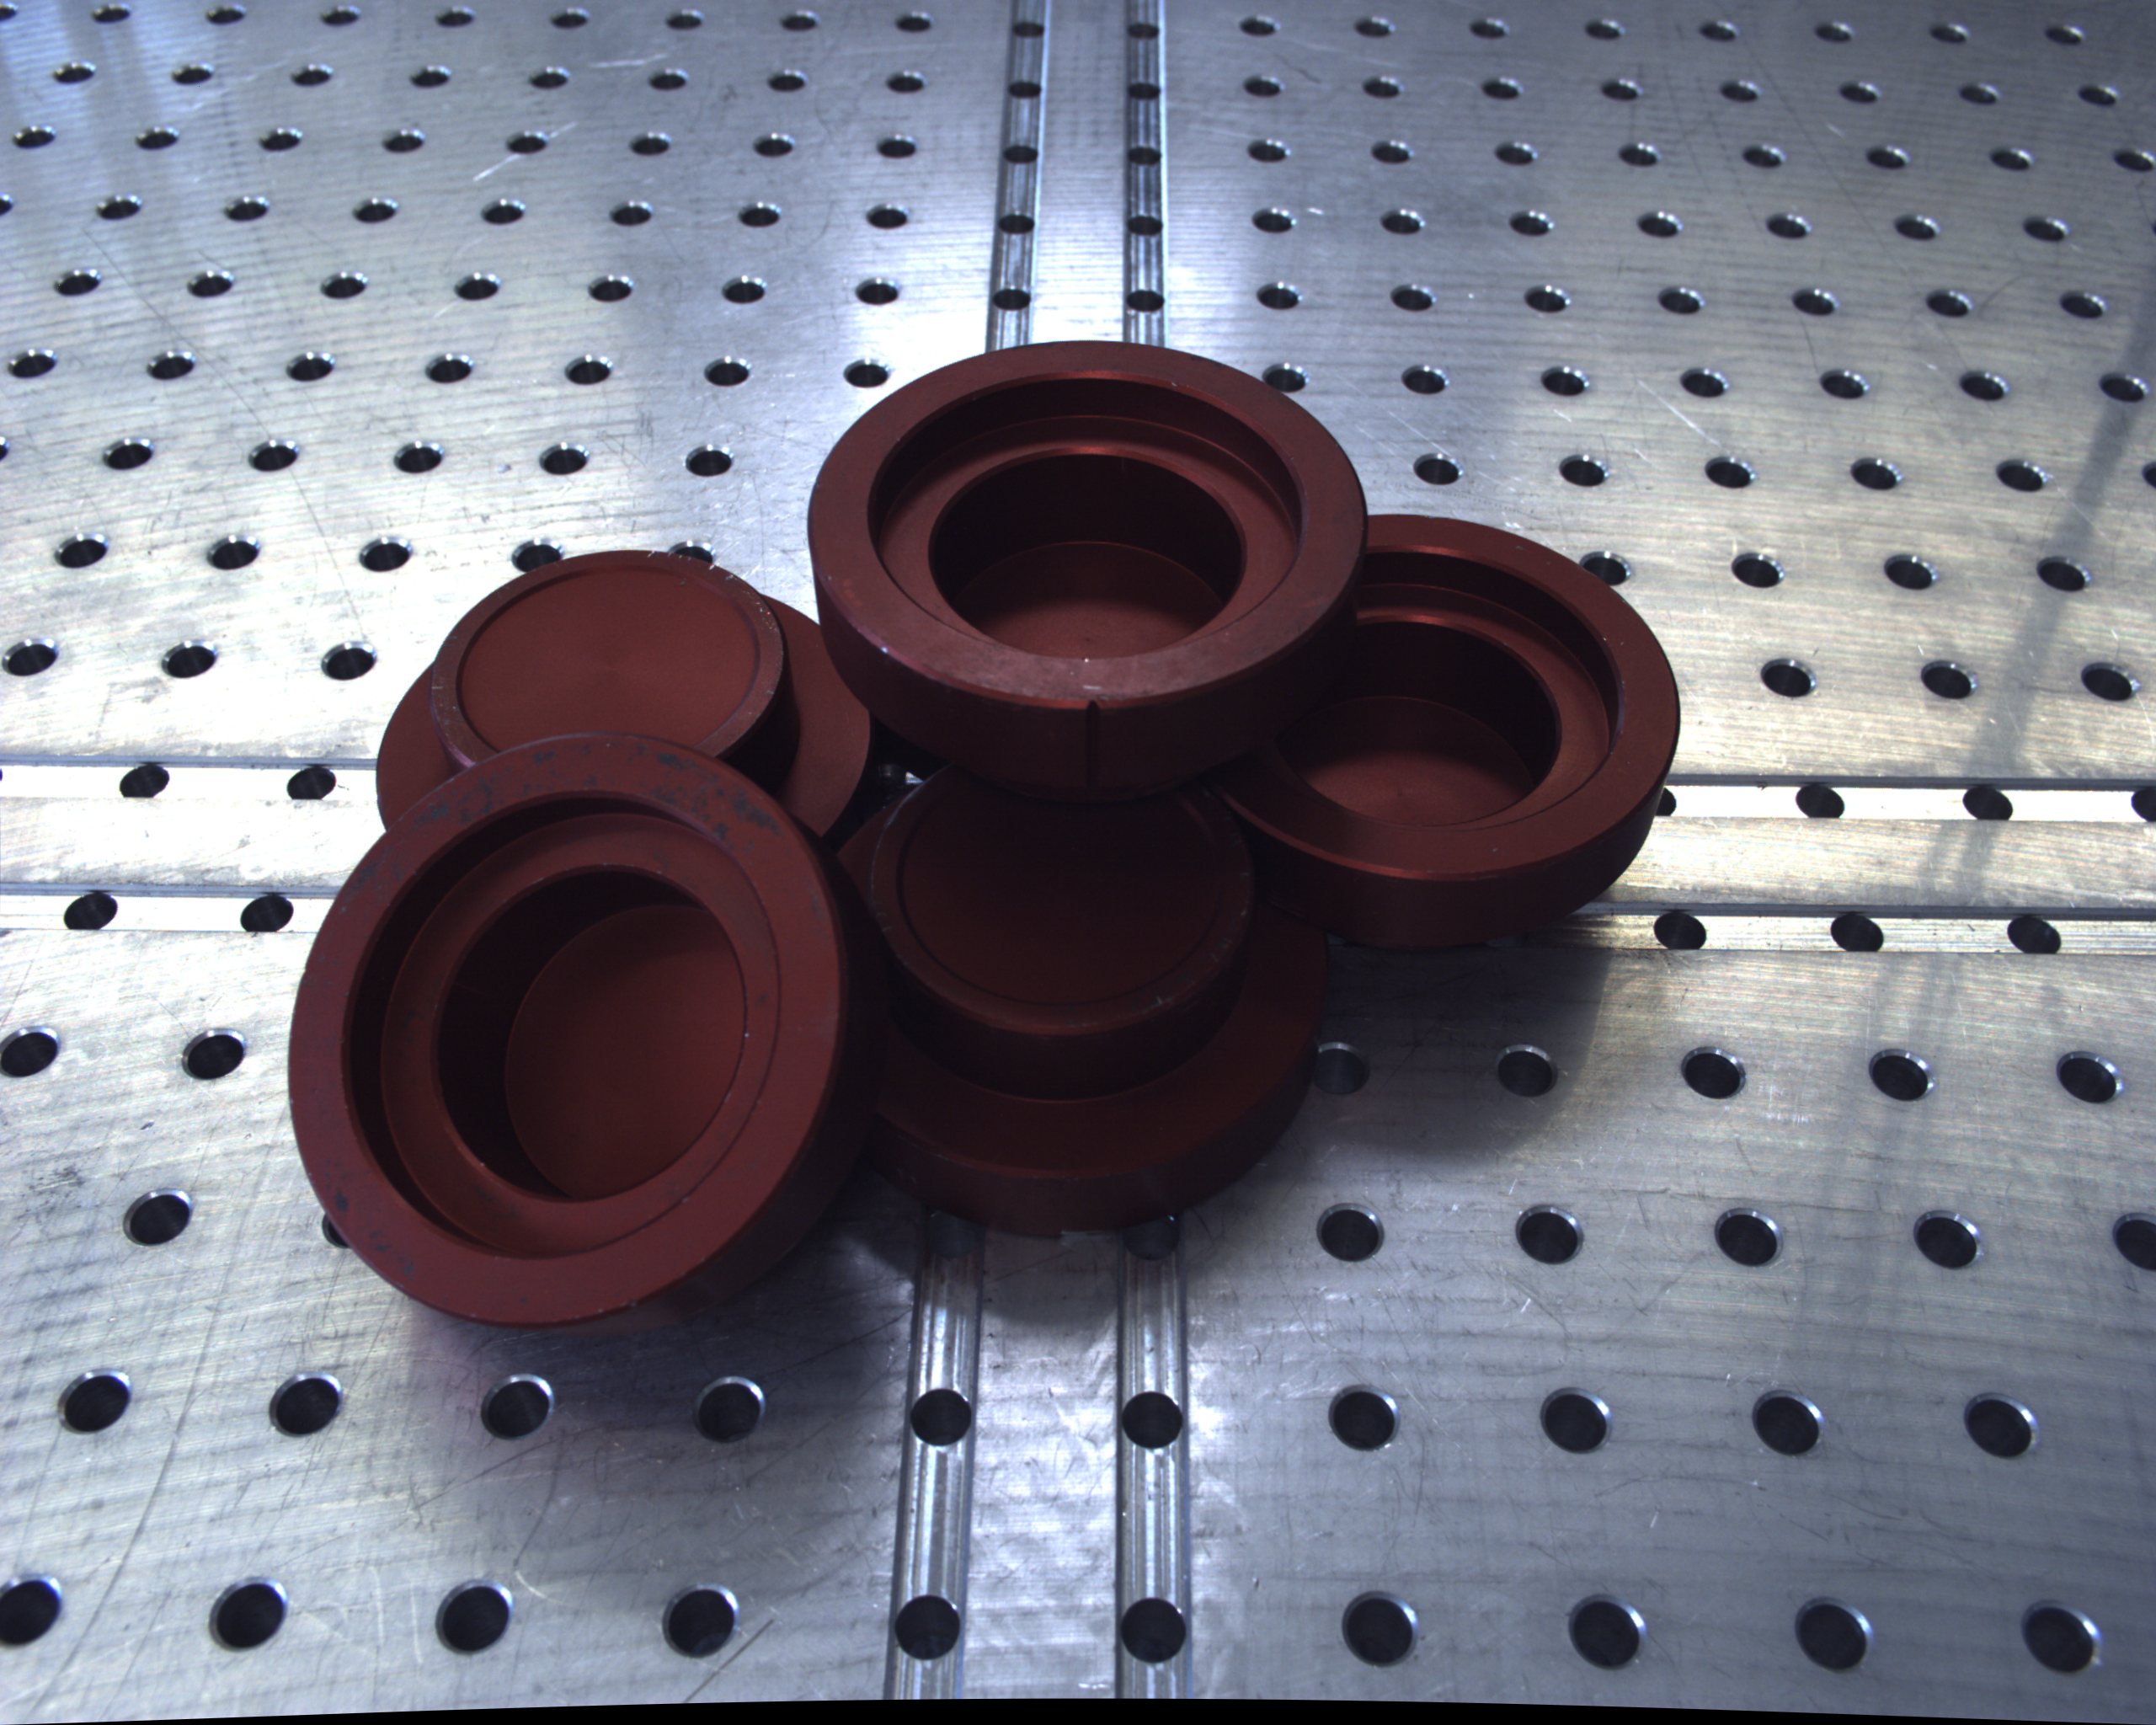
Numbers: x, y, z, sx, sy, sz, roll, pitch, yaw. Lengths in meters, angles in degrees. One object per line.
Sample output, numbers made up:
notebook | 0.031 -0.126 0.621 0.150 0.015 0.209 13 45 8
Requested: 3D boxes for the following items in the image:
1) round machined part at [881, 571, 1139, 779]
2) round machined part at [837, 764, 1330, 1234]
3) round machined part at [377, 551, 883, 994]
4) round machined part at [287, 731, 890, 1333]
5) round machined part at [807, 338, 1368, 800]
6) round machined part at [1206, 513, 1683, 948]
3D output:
round machined part | -0.003 -0.060 0.447 0.099 0.042 0.098 0 50 0
round machined part | -0.003 0.015 0.383 0.099 0.042 0.098 0 50 0
round machined part | -0.090 -0.024 0.417 0.099 0.042 0.098 0 50 0
round machined part | -0.078 0.030 0.354 0.098 0.042 0.098 -4 72 13
round machined part | 0.002 -0.050 0.383 0.099 0.042 0.098 0 50 0
round machined part | 0.066 -0.022 0.415 0.099 0.042 0.098 0 50 0
